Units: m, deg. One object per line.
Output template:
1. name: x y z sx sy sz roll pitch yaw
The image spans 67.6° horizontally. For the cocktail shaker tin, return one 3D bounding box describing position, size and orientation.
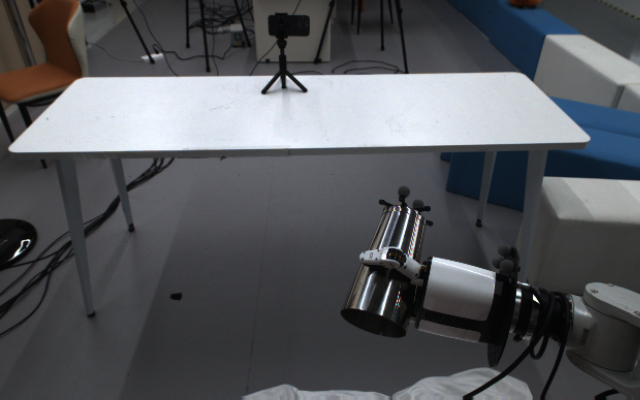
1. cocktail shaker tin: 0.097 0.096 0.683 0.093 0.093 0.170 14 61 17
